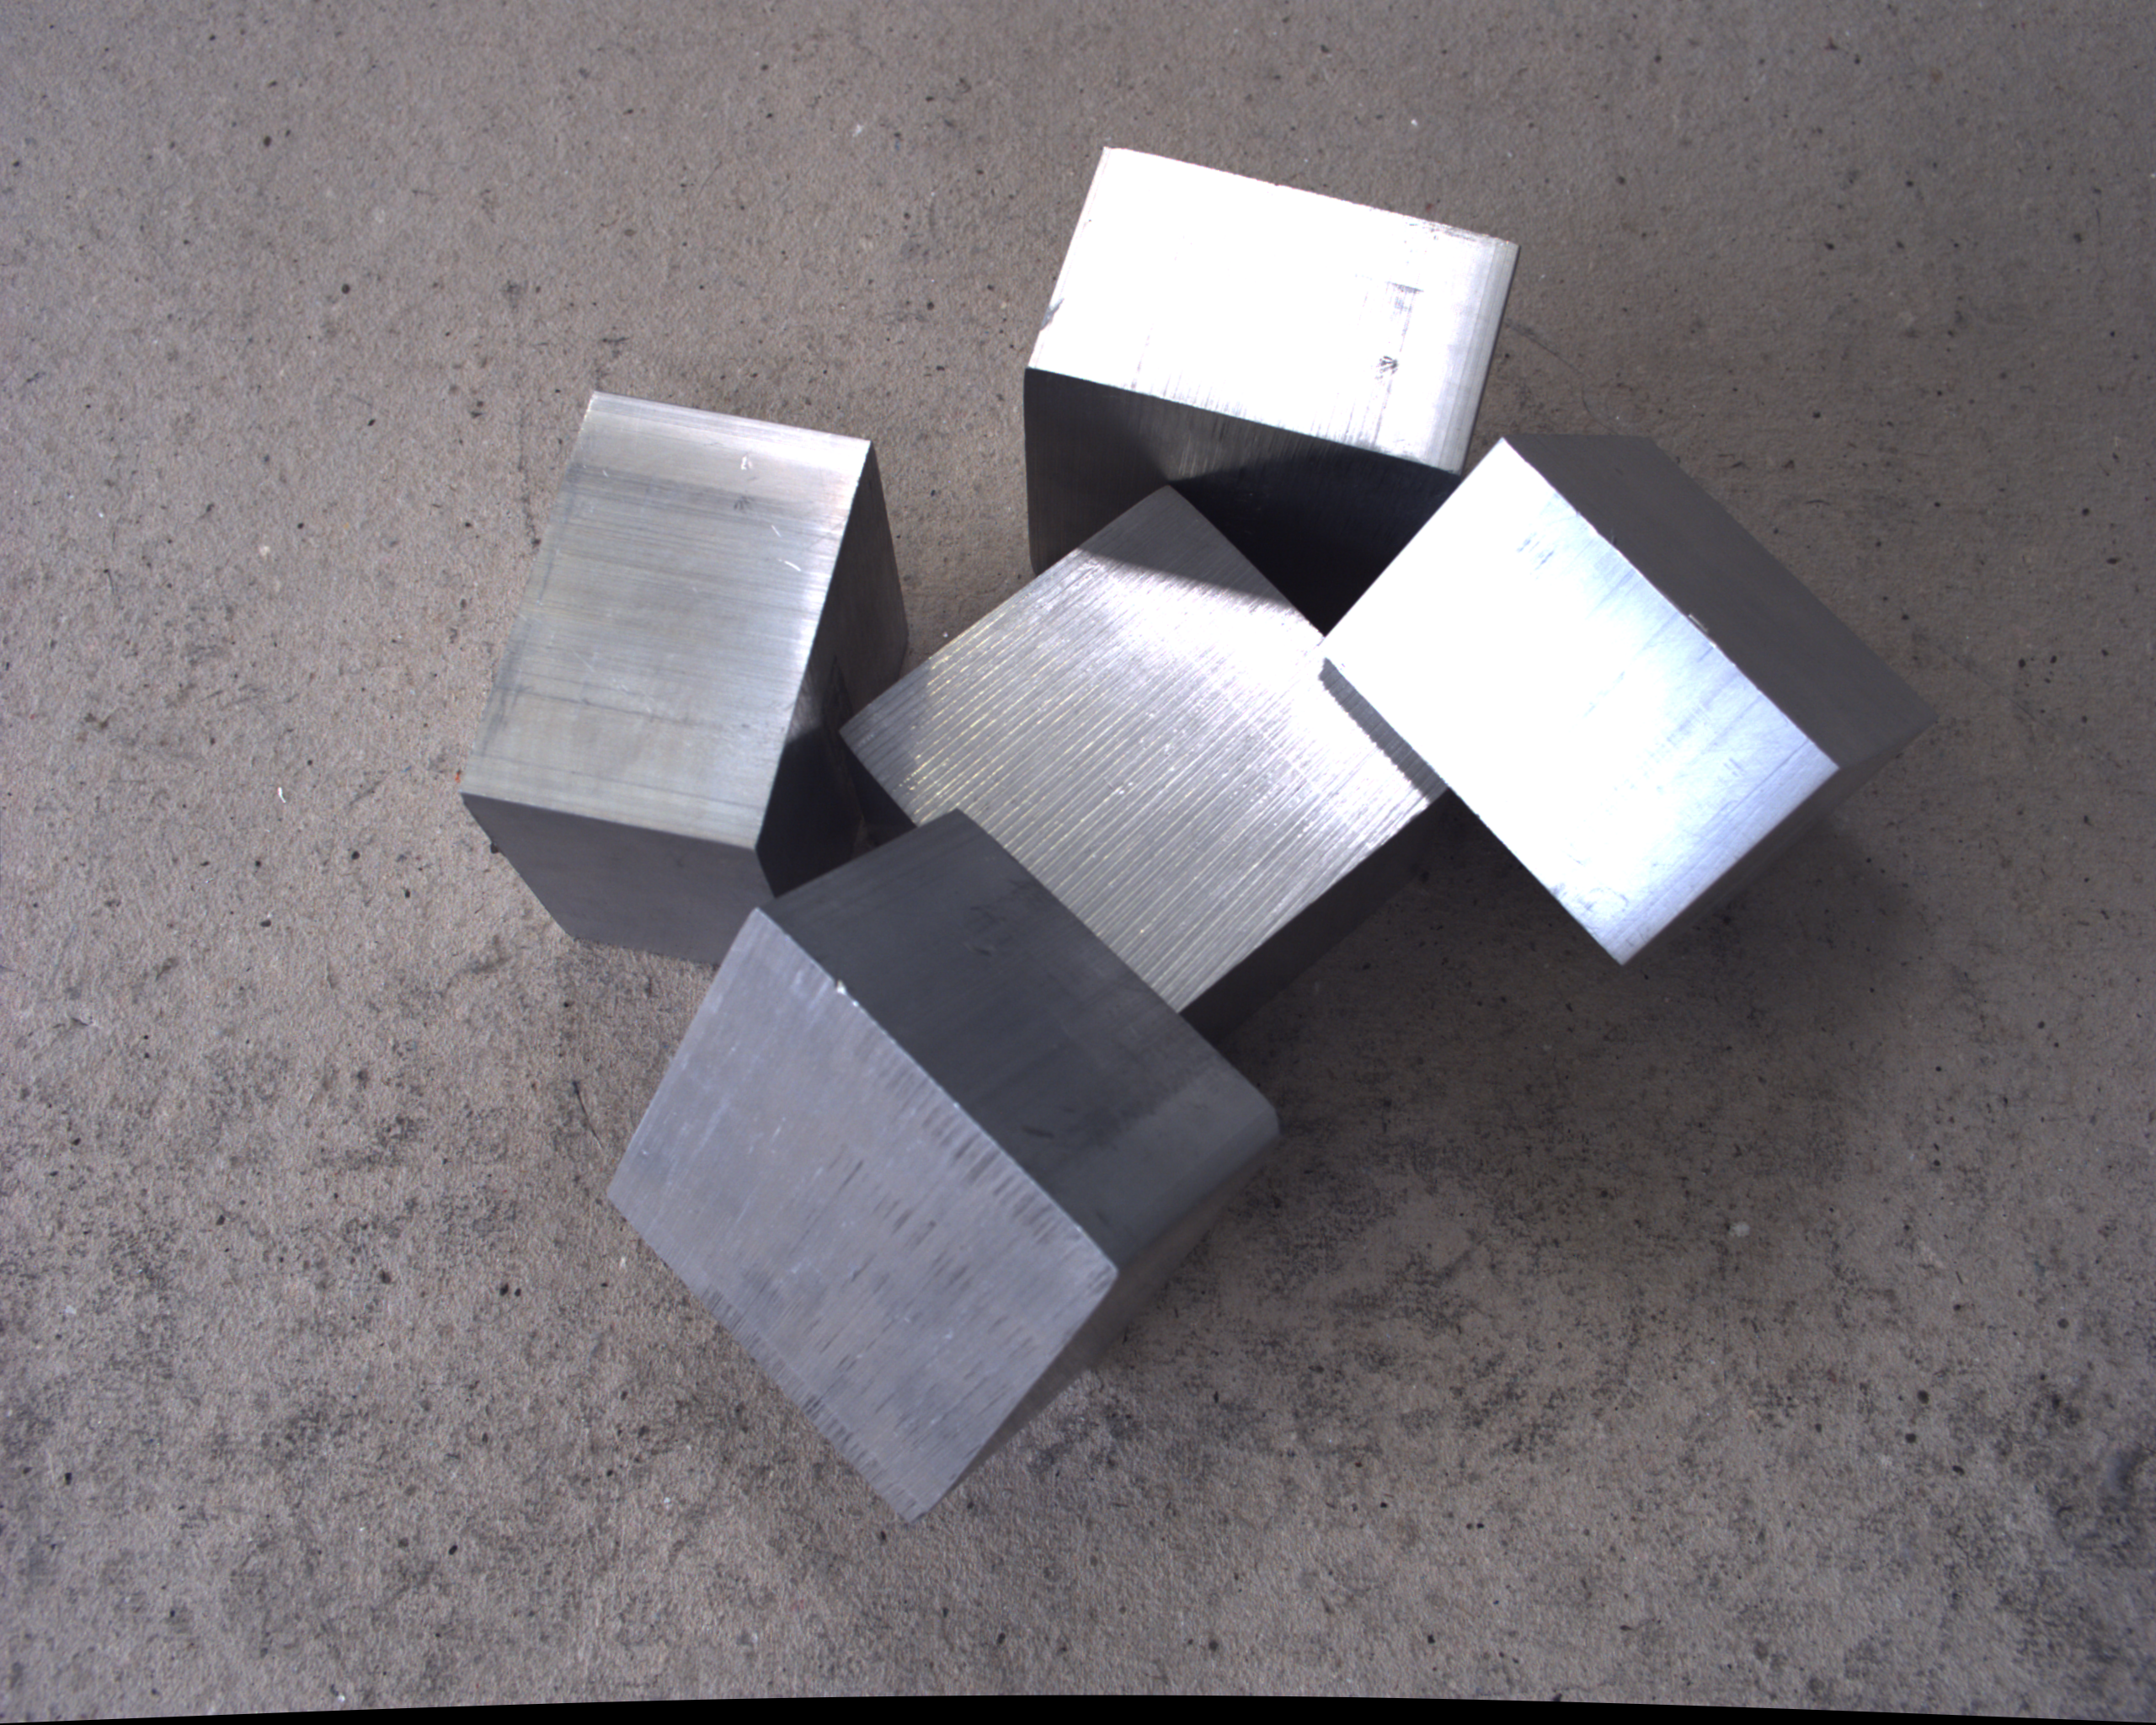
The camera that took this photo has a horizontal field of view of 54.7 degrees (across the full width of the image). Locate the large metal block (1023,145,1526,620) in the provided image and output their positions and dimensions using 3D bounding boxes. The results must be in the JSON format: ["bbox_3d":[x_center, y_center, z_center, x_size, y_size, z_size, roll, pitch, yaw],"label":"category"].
[{"bbox_3d":[0.036,-0.087,0.412,0.080,0.080,0.050,15,71,5],"label":"large metal block"}]

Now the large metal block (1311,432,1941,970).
[{"bbox_3d":[0.103,-0.034,0.387,0.080,0.081,0.050,49,121,15],"label":"large metal block"}]

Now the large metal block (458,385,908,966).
[{"bbox_3d":[-0.069,-0.030,0.391,0.050,0.080,0.080,11,71,4],"label":"large metal block"}]

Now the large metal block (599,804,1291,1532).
[{"bbox_3d":[-0.025,0.051,0.355,0.080,0.079,0.050,44,39,14],"label":"large metal block"}]

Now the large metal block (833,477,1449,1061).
[{"bbox_3d":[0.013,-0.012,0.398,0.080,0.050,0.080,-39,76,-13],"label":"large metal block"}]
